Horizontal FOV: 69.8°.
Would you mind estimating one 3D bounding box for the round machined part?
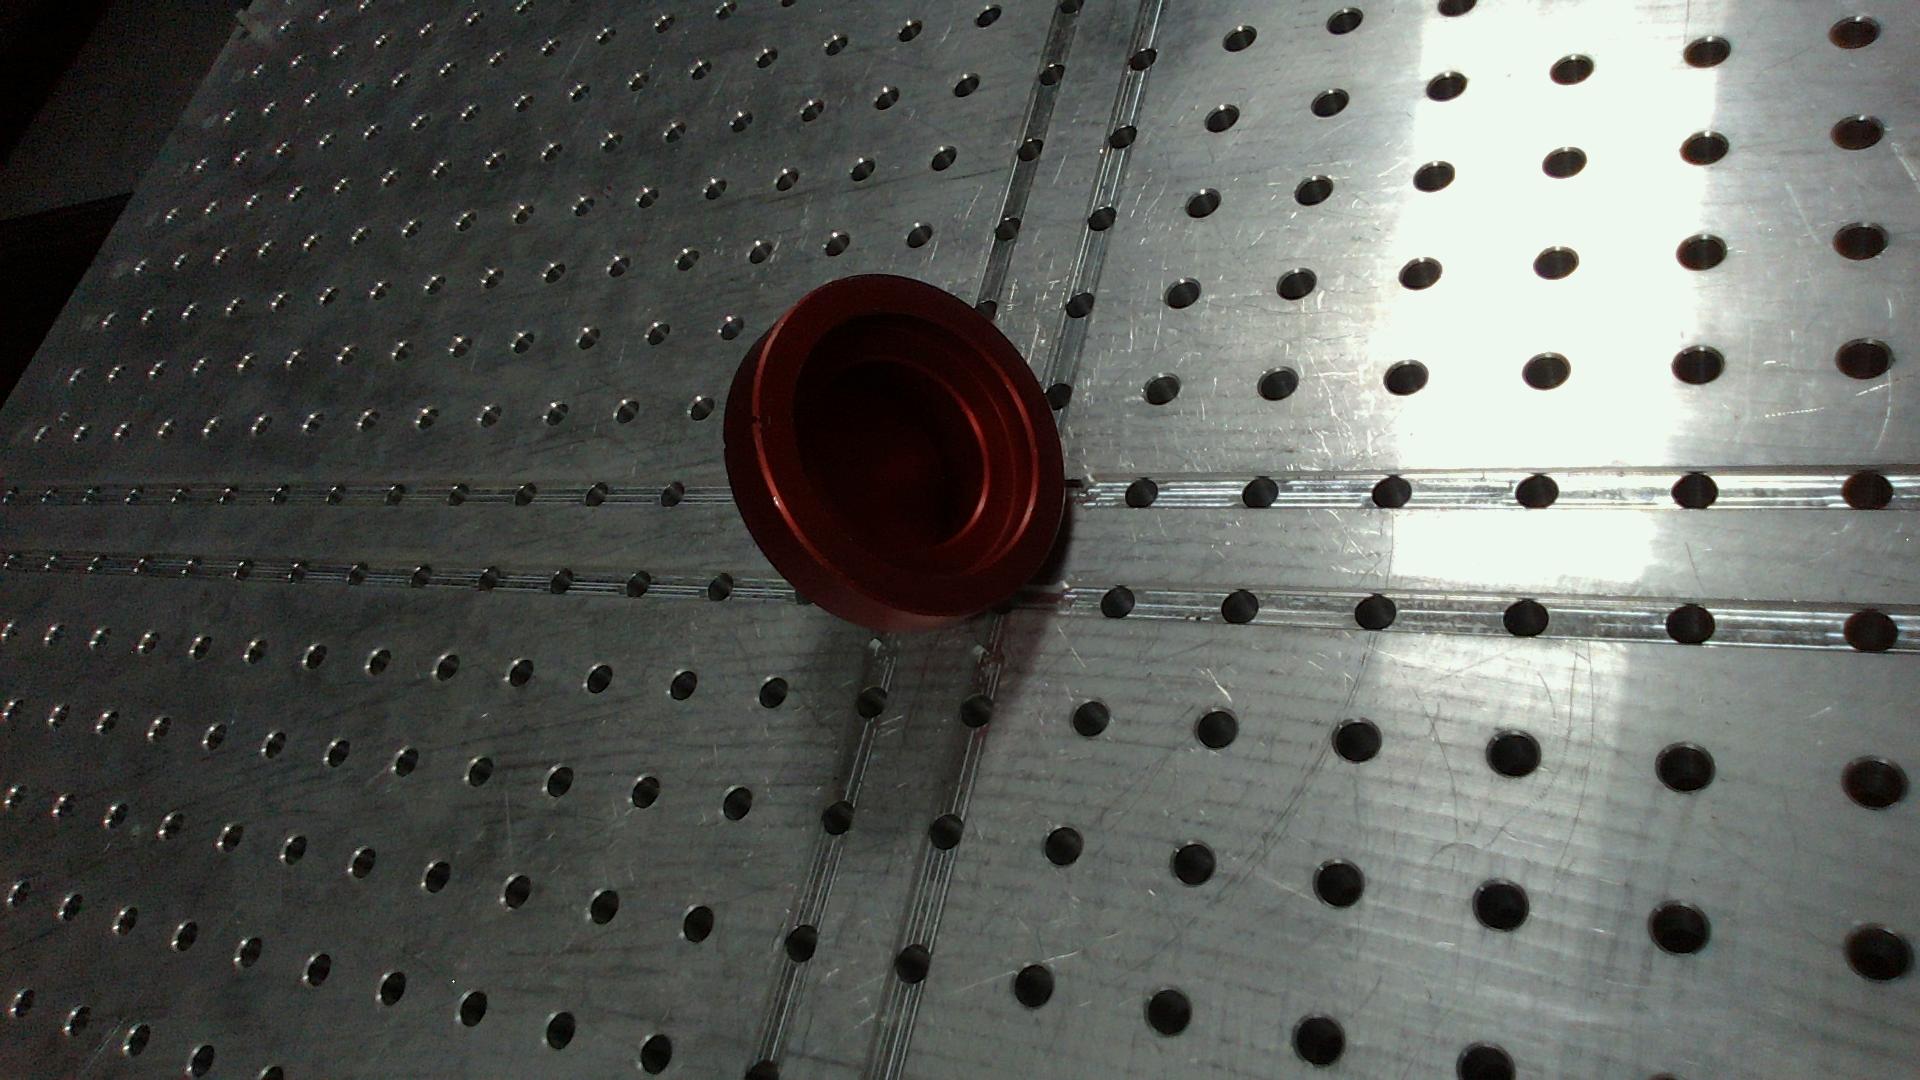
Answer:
[{"bbox_3d":[-0.022,-0.022,0.387,0.042,0.098,0.098,-28,44,53],"label":"round machined part"}]
